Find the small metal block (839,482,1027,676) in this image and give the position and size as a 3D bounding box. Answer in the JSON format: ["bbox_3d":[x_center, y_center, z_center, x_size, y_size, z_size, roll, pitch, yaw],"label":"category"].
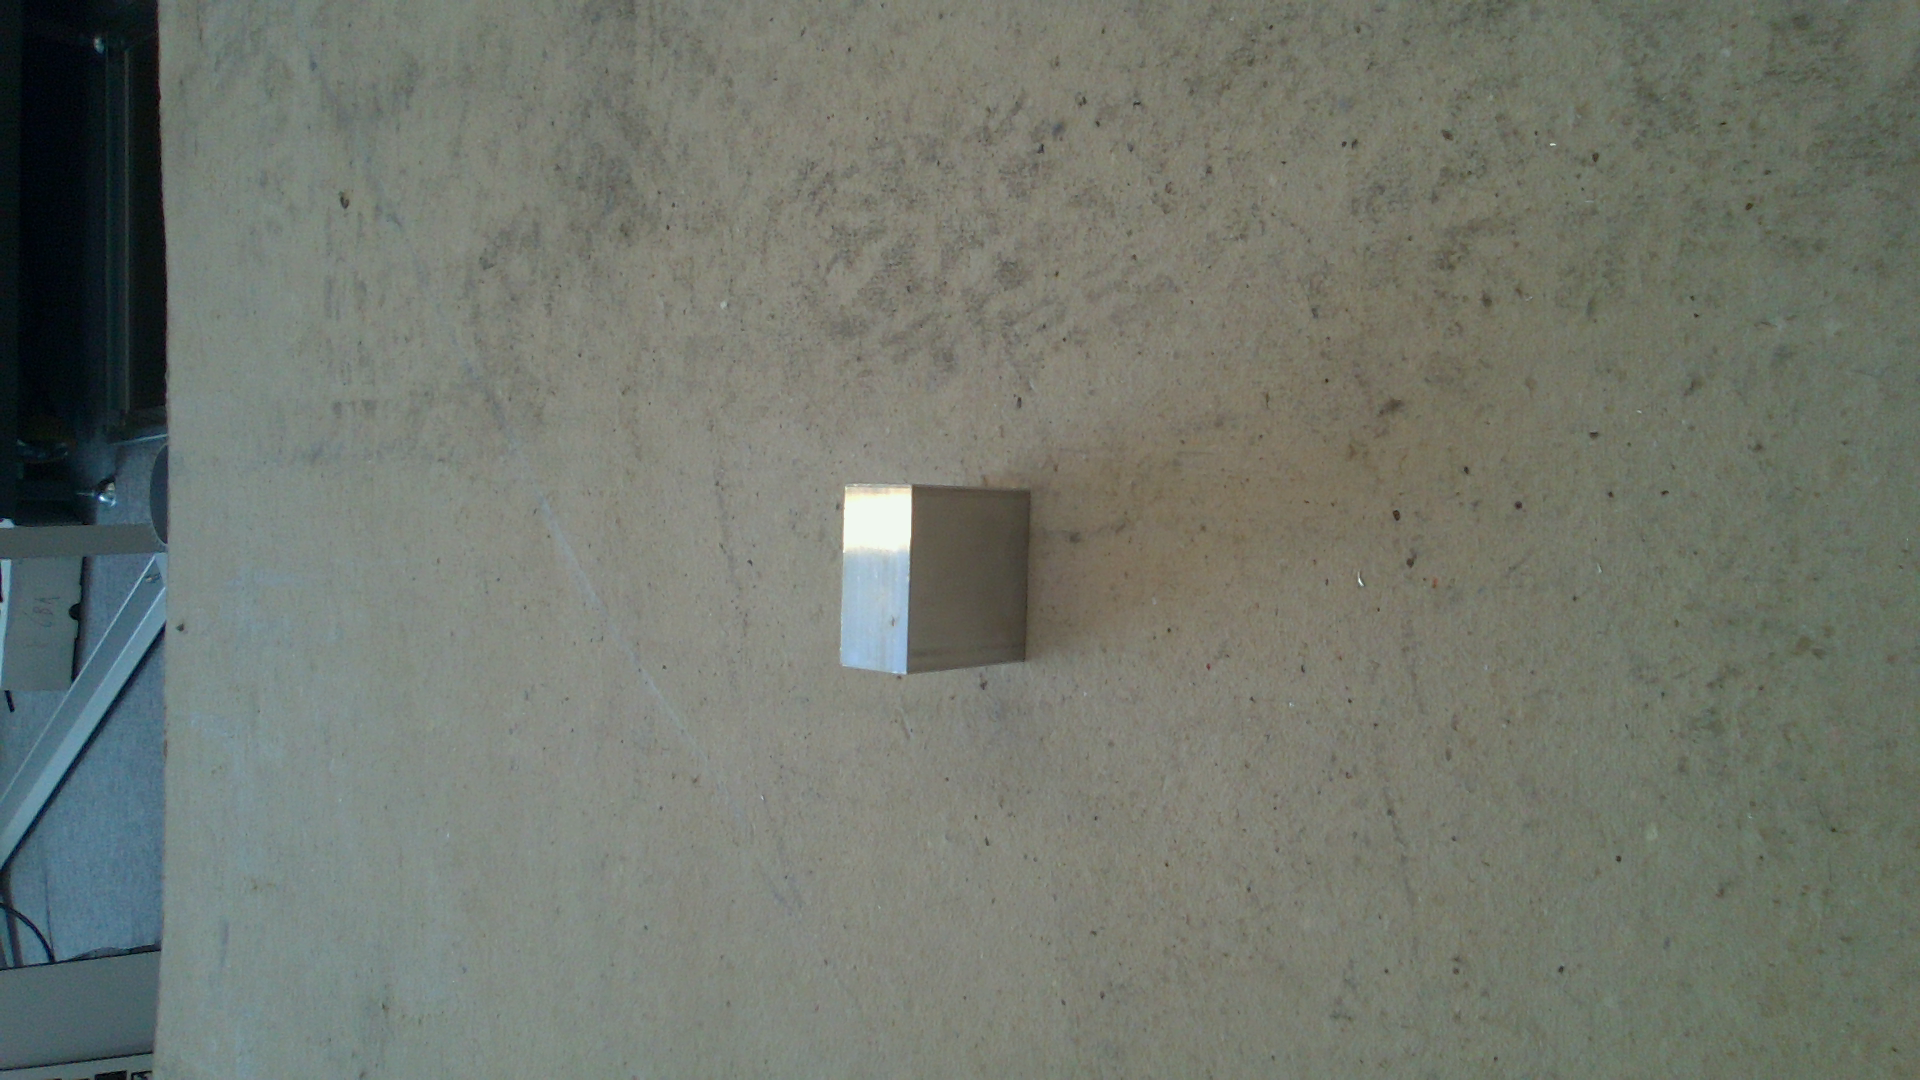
[{"bbox_3d":[-0.007,0.010,0.385,0.025,0.050,0.050,3,92,39],"label":"small metal block"}]
